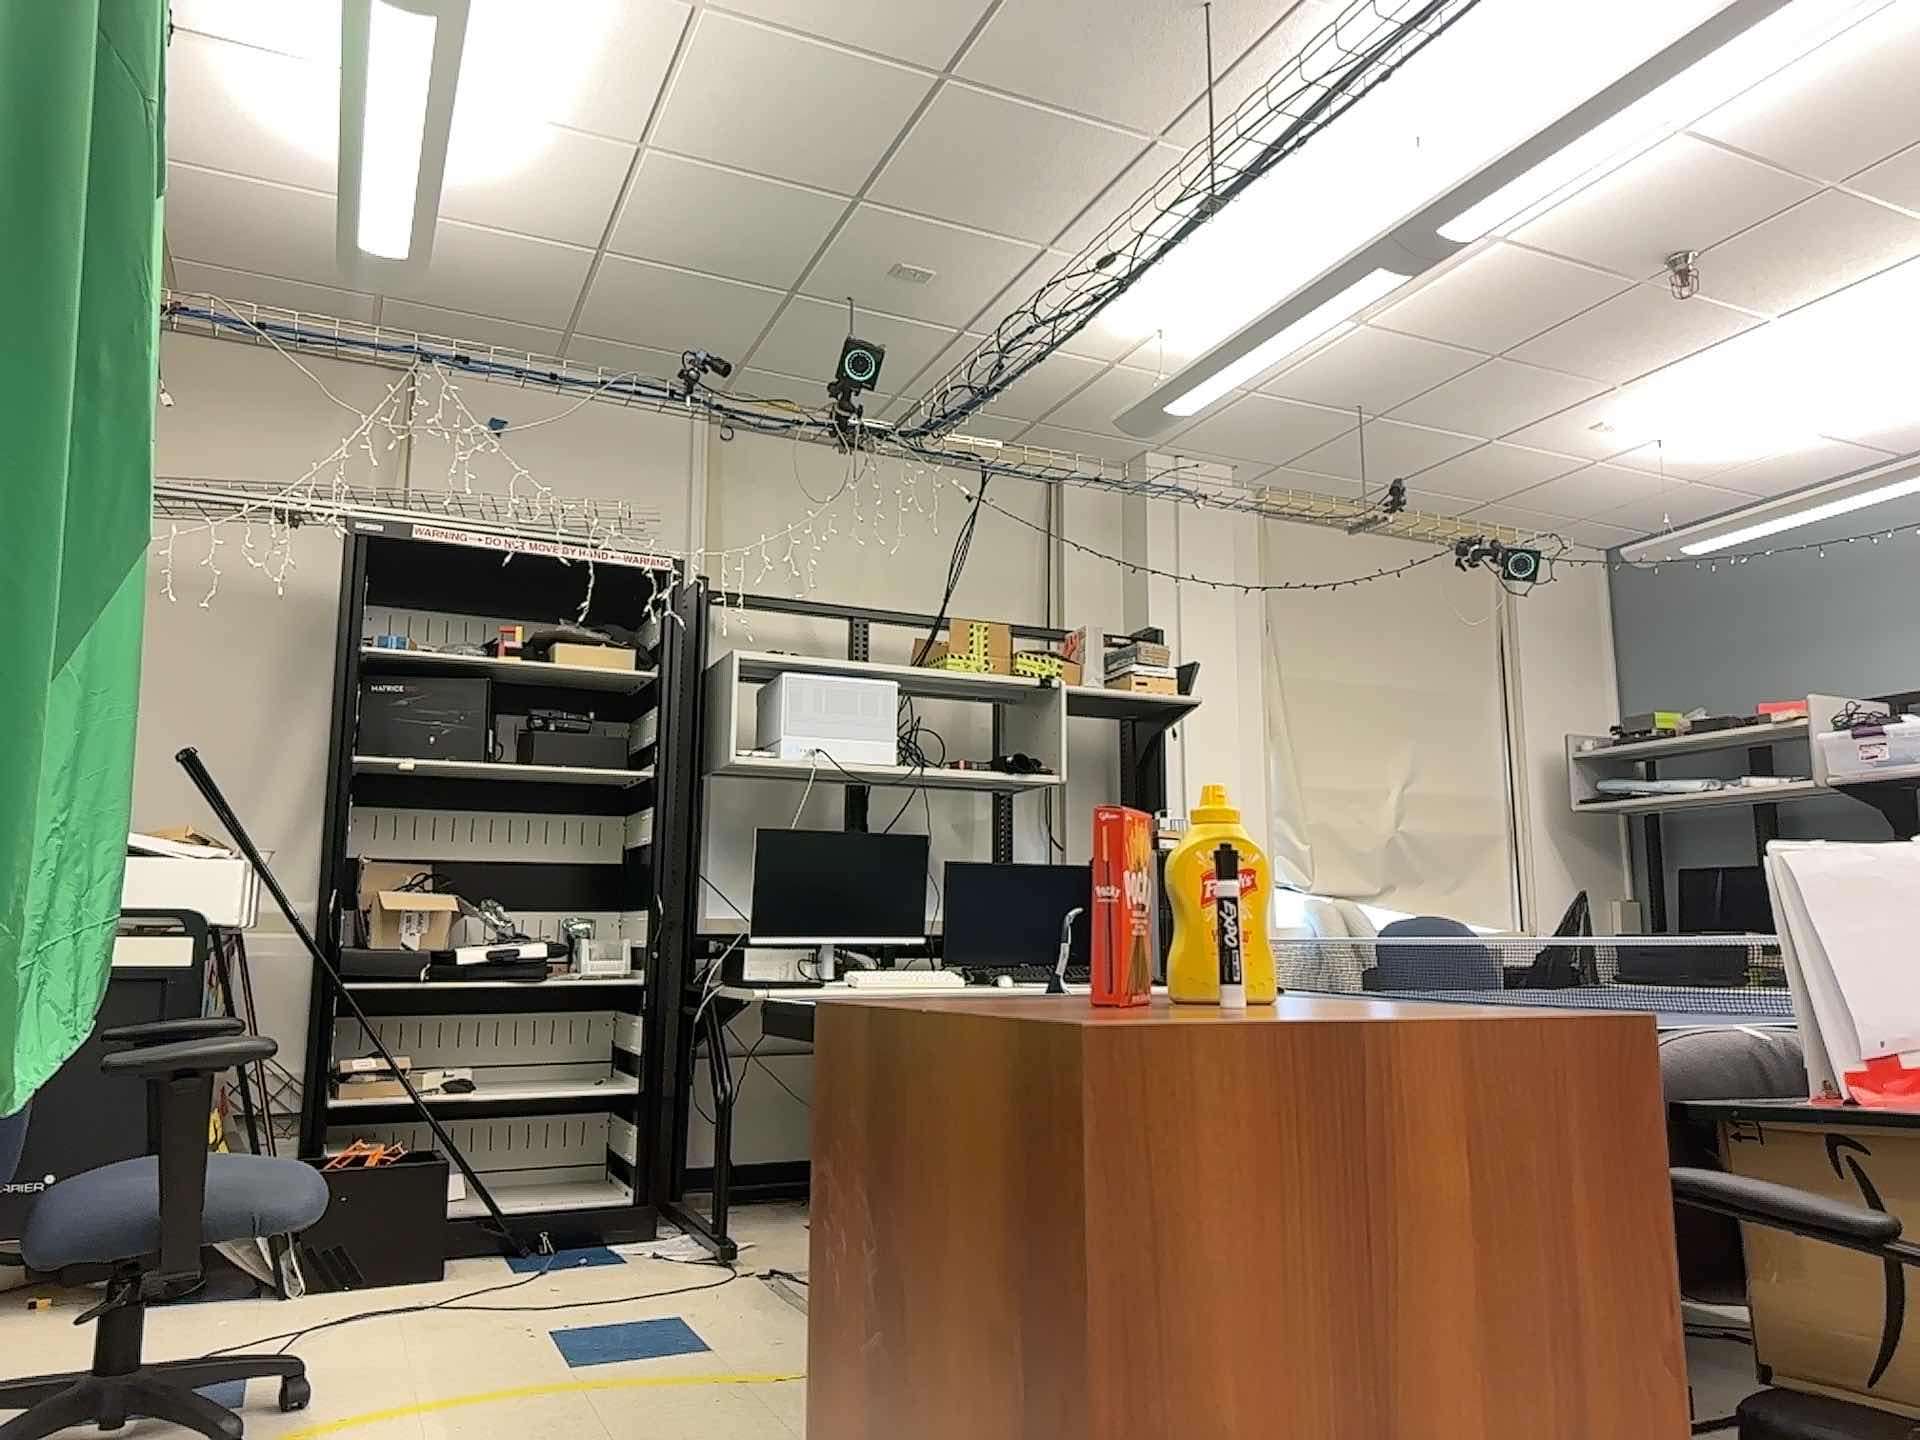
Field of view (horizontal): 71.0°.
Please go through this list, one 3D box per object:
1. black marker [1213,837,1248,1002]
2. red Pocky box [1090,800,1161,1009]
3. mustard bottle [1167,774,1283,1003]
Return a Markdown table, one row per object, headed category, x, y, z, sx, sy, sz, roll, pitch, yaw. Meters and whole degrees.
| category | x | y | z | sx | sy | sz | roll | pitch | yaw |
| --- | --- | --- | --- | --- | --- | --- | --- | --- | --- |
| black marker | 0.201 | 0.148 | 1.005 | 0.020 | 0.121 | 0.020 | 0 | -12 | 0 |
| red Pocky box | 0.126 | 0.140 | 1.029 | 0.028 | 0.155 | 0.083 | -4 | -8 | 29 |
| mustard bottle | 0.213 | 0.136 | 1.100 | 0.092 | 0.184 | 0.054 | 0 | -8 | -5 |
